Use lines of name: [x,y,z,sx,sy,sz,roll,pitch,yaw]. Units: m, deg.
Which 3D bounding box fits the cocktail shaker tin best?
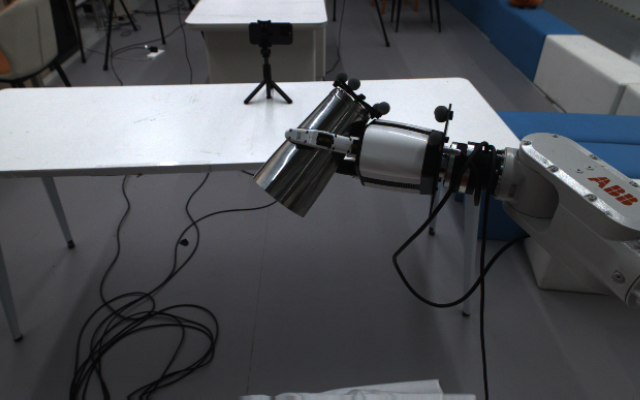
cocktail shaker tin: [-0.006,-0.074,0.683,0.170,0.093,0.093,-50,46,4]
